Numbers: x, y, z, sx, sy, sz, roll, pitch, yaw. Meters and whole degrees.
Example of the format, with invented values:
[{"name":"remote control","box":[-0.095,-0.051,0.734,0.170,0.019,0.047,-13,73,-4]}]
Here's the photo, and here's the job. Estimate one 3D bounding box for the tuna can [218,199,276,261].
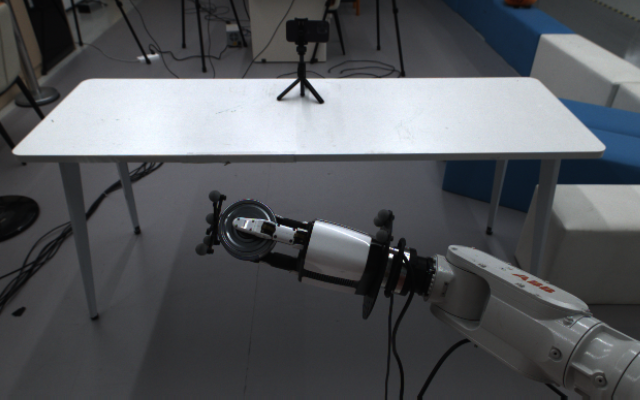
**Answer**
[{"name":"tuna can","box":[-0.100,0.042,0.695,0.085,0.034,0.085,1,74,-5]}]
